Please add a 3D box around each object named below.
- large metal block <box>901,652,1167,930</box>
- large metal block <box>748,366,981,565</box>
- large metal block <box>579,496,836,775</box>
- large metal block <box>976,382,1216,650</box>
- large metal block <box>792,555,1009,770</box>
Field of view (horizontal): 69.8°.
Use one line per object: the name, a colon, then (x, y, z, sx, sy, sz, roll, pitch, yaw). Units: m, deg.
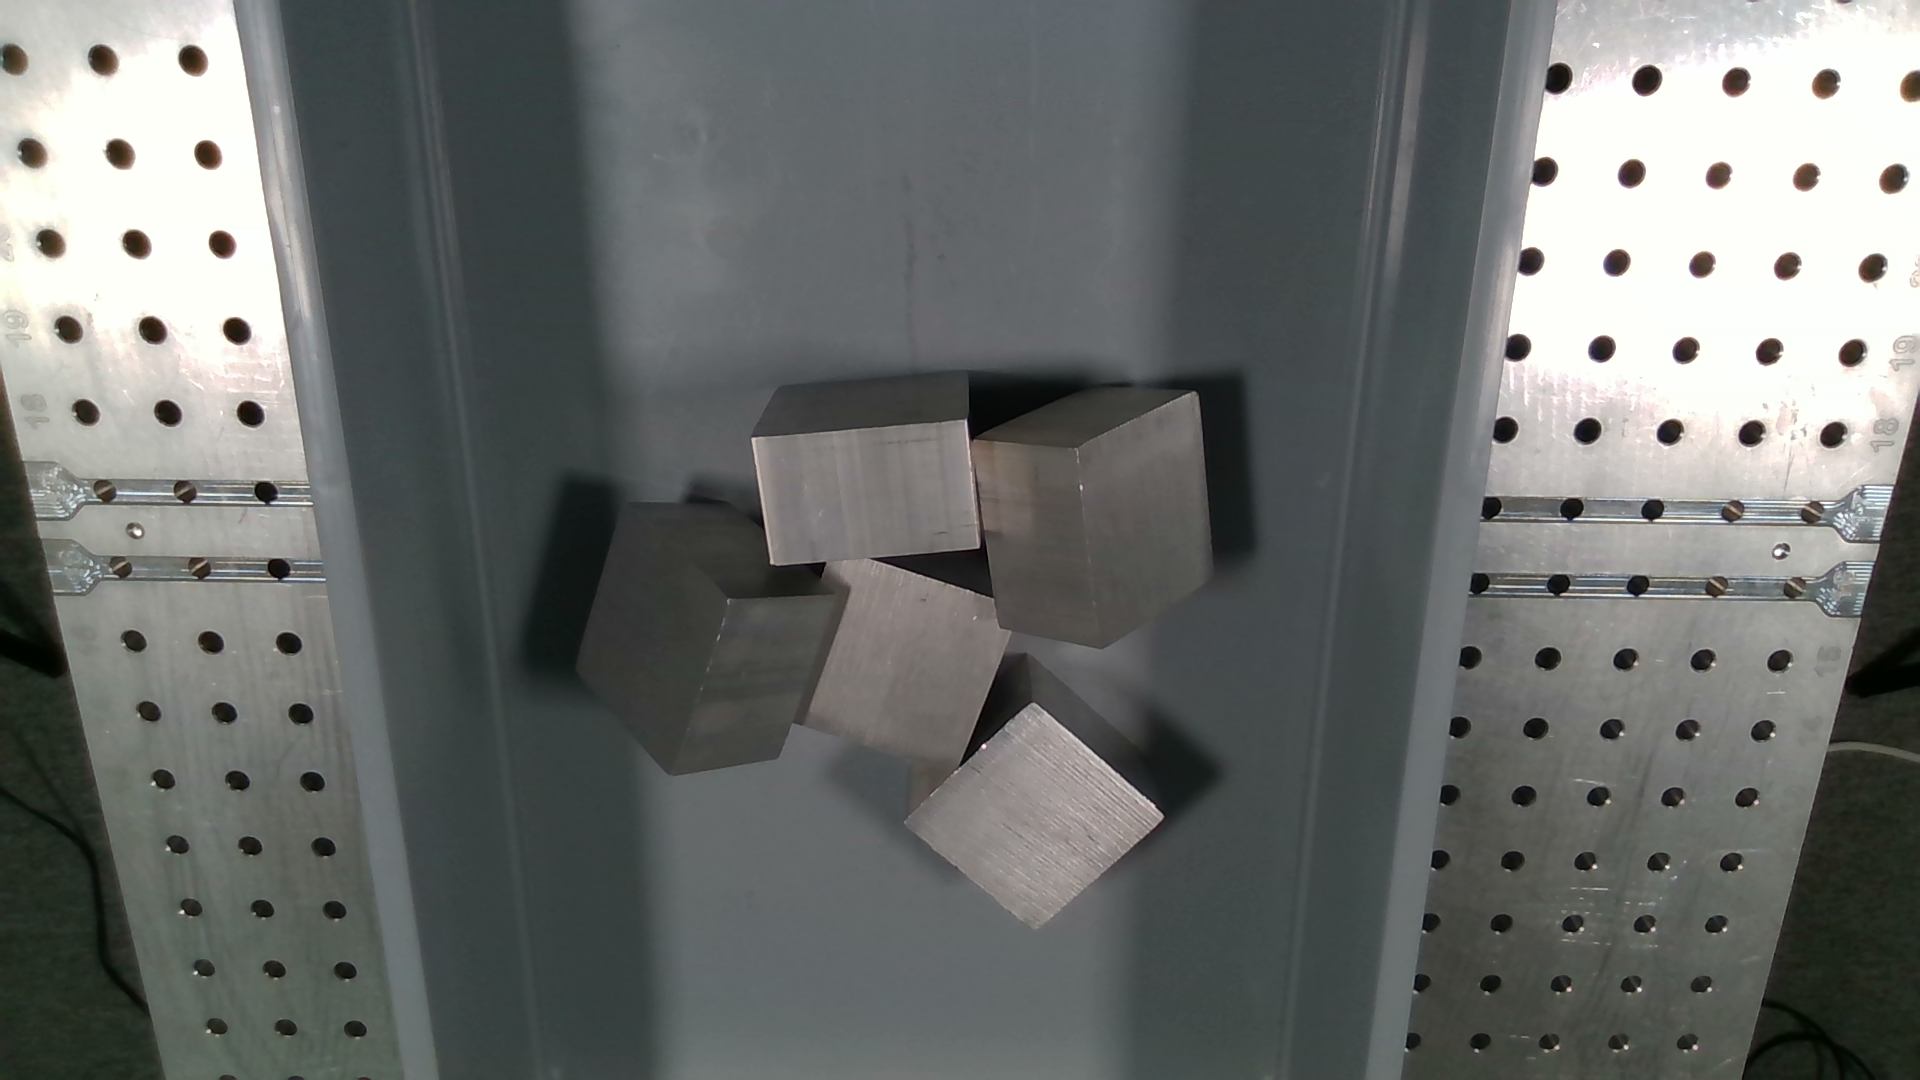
large metal block: (0.032, 0.110, 0.611, 0.080, 0.050, 0.080, 42, 105, -14)
large metal block: (-0.034, -0.031, 0.543, 0.080, 0.080, 0.050, -5, 110, 2)
large metal block: (-0.105, 0.036, 0.561, 0.050, 0.080, 0.080, -1, 120, -45)
large metal block: (0.055, -0.013, 0.543, 0.050, 0.080, 0.080, 10, 116, 42)
large metal block: (-0.026, 0.041, 0.586, 0.080, 0.050, 0.080, 18, 109, -6)
